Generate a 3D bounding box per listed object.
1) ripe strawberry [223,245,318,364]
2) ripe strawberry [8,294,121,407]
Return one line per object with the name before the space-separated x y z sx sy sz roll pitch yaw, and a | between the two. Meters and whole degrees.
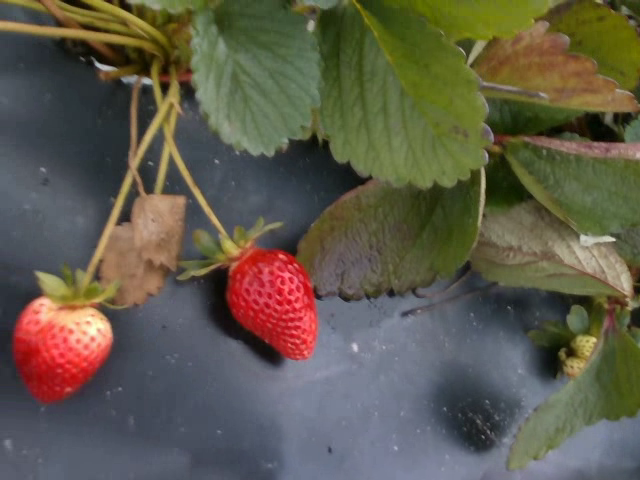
ripe strawberry | -0.018 0.025 0.262 0.044 0.059 0.042 -25 11 7
ripe strawberry | -0.090 0.039 0.229 0.036 0.041 0.027 16 4 -16
